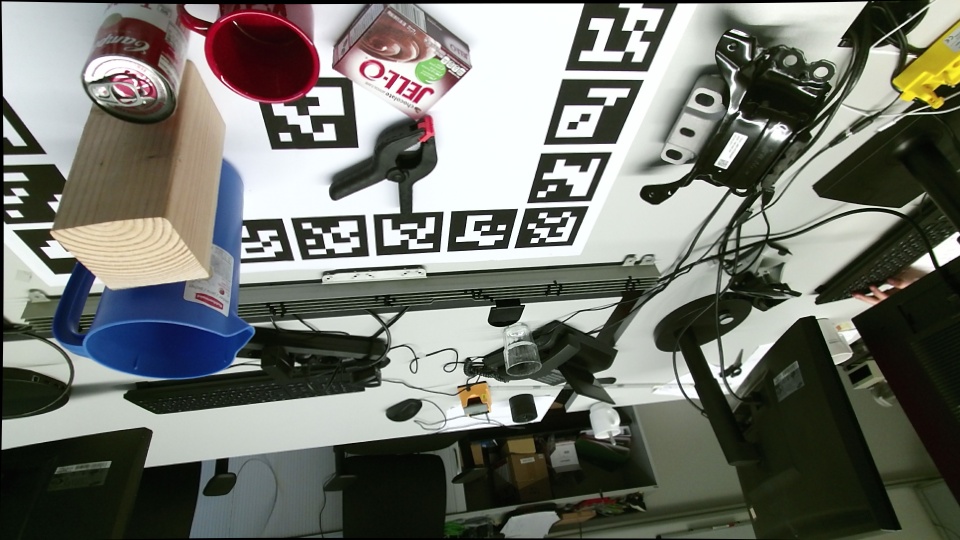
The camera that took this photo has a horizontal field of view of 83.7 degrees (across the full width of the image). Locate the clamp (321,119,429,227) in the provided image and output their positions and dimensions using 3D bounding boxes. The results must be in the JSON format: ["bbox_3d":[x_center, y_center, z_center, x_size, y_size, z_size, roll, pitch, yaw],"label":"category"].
[{"bbox_3d":[-0.116,-0.126,0.681,0.122,0.036,0.165,20,134,-28],"label":"clamp"}]

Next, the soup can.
[{"bbox_3d":[-0.300,-0.184,0.466,0.068,0.101,0.068,-9,143,-6],"label":"soup can"}]

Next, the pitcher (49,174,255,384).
[{"bbox_3d":[-0.350,-0.004,0.593,0.189,0.241,0.133,-8,148,-12],"label":"pitcher"}]

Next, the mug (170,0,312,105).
[{"bbox_3d":[-0.208,-0.213,0.474,0.117,0.081,0.093,19,137,-39],"label":"mug"}]

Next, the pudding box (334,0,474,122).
[{"bbox_3d":[-0.078,-0.217,0.552,0.114,0.038,0.090,21,131,-40],"label":"pudding box"}]

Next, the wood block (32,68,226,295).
[{"bbox_3d":[-0.316,-0.089,0.507,0.090,0.205,0.091,-4,146,-6],"label":"wood block"}]
